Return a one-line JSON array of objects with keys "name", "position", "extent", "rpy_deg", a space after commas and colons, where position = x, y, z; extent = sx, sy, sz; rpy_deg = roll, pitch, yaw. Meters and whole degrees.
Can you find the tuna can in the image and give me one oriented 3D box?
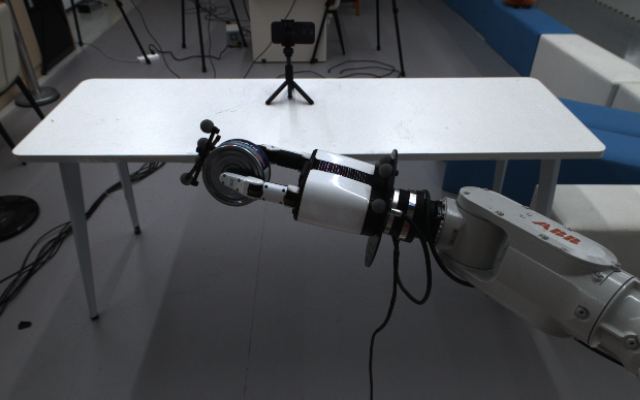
[{"name": "tuna can", "position": [-0.109, -0.037, 0.639], "extent": [0.085, 0.085, 0.034], "rpy_deg": [6, 20, 5]}]
